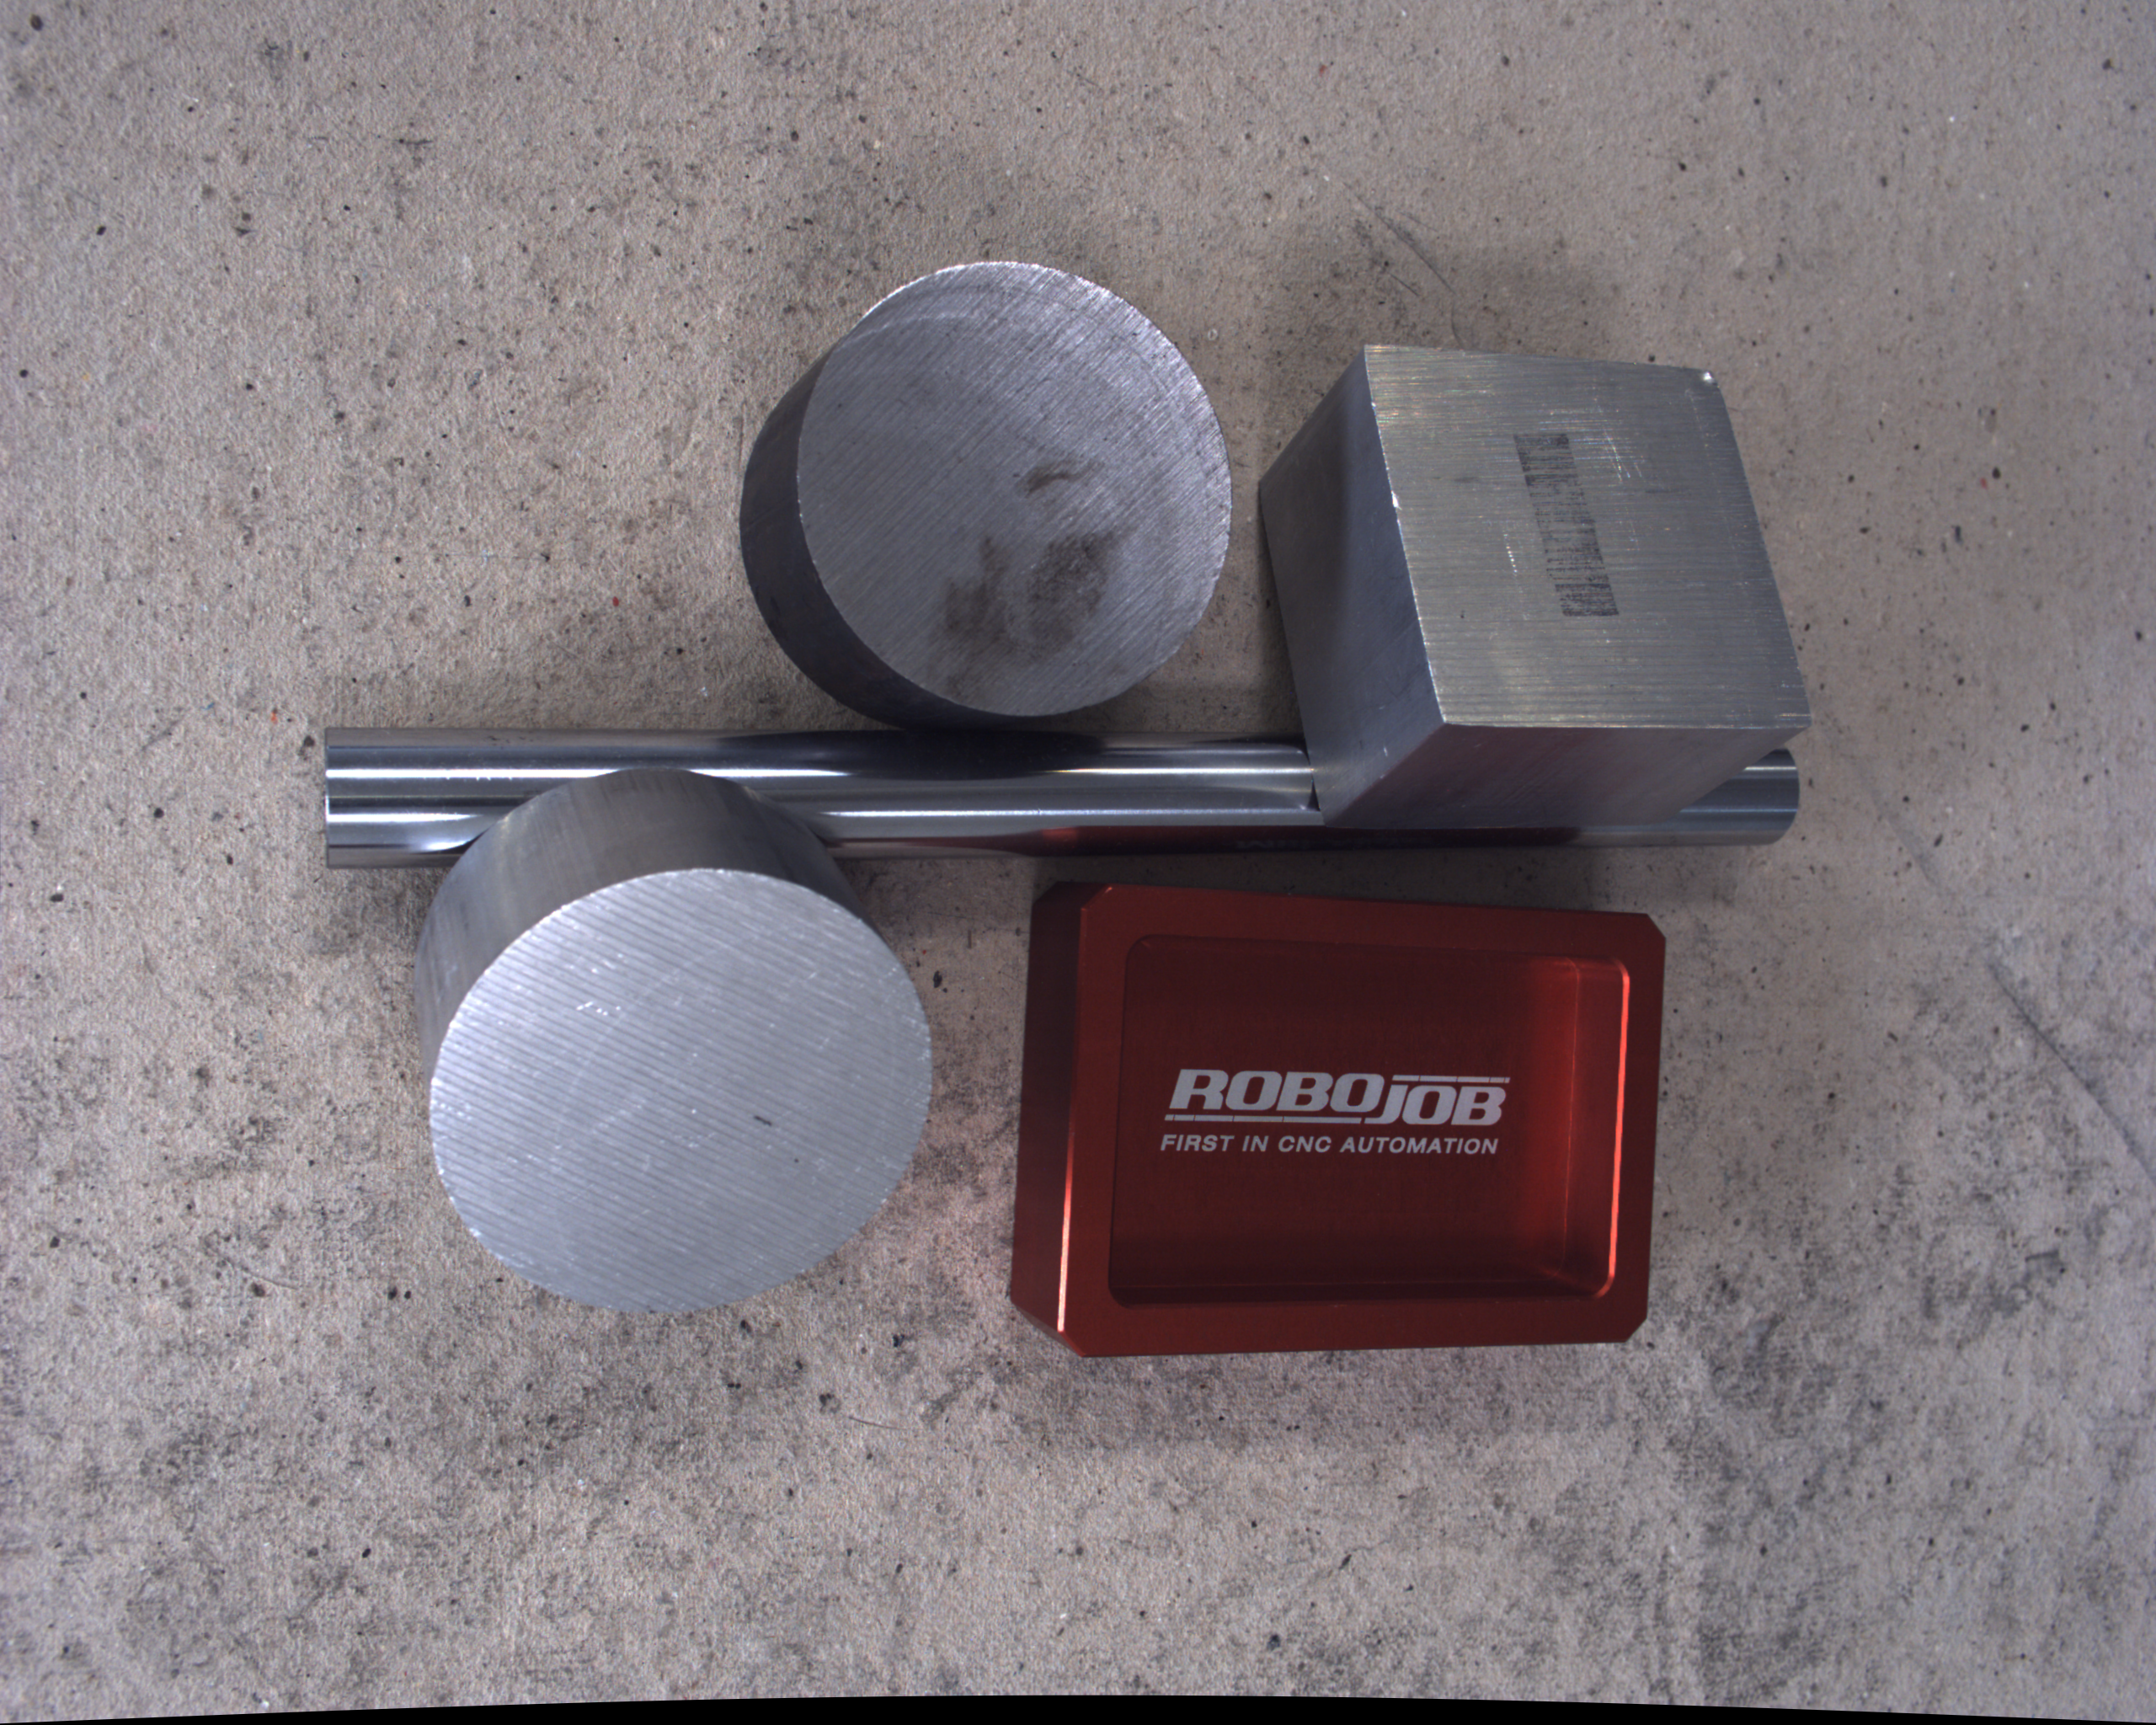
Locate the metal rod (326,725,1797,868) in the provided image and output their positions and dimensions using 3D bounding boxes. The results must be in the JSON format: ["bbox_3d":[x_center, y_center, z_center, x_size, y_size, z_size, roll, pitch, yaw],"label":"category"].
[{"bbox_3d":[0.011,-0.014,0.416,0.303,0.025,0.025,-1,91,-20],"label":"metal rod"}]

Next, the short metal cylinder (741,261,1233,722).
[{"bbox_3d":[-0.018,-0.066,0.390,0.081,0.050,0.080,0,90,-20],"label":"short metal cylinder"}]

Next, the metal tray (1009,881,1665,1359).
[{"bbox_3d":[0.055,0.052,0.427,0.131,0.030,0.089,4,89,-20],"label":"metal tray"}]

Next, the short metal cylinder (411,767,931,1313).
[{"bbox_3d":[-0.071,0.029,0.358,0.081,0.050,0.079,-8,113,-18],"label":"short metal cylinder"}]

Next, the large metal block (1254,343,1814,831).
[{"bbox_3d":[0.088,-0.053,0.416,0.081,0.050,0.080,-1,69,-20],"label":"large metal block"}]
